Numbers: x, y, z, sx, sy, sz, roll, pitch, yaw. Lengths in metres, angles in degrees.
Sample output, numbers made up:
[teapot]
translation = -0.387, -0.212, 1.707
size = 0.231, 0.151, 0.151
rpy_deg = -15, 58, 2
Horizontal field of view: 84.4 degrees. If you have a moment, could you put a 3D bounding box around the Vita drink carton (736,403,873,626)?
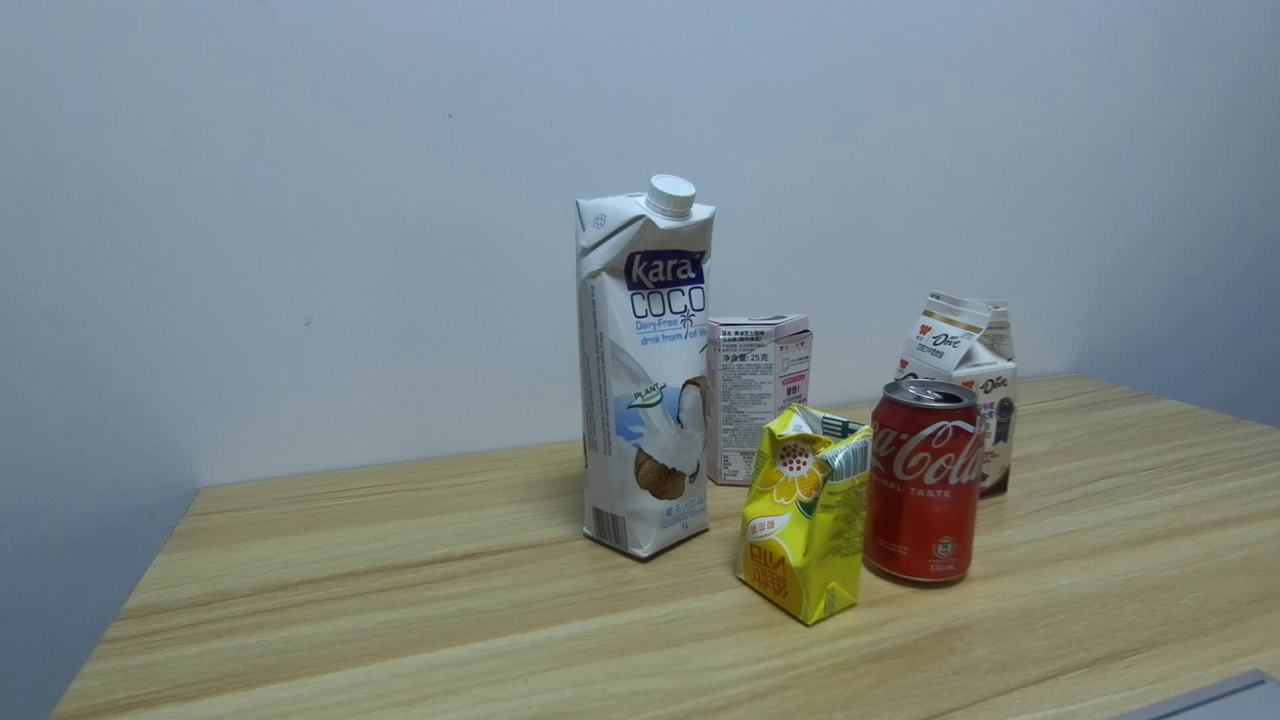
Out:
[Vita drink carton]
translation = 0.093, 0.087, 0.412
size = 0.047, 0.109, 0.071
rpy_deg = -7, 14, -32

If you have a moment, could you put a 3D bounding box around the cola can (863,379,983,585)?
[cola can]
translation = 0.176, 0.073, 0.442
size = 0.068, 0.120, 0.068
rpy_deg = 1, 15, 0

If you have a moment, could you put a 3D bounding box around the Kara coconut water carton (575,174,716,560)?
[Kara coconut water carton]
translation = 0.007, 0.003, 0.475
size = 0.100, 0.244, 0.071
rpy_deg = -15, 20, -42

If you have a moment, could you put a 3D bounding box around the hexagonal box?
[hexagonal box]
translation = 0.091, 0.029, 0.588
size = 0.084, 0.135, 0.092
rpy_deg = 11, 18, 39
